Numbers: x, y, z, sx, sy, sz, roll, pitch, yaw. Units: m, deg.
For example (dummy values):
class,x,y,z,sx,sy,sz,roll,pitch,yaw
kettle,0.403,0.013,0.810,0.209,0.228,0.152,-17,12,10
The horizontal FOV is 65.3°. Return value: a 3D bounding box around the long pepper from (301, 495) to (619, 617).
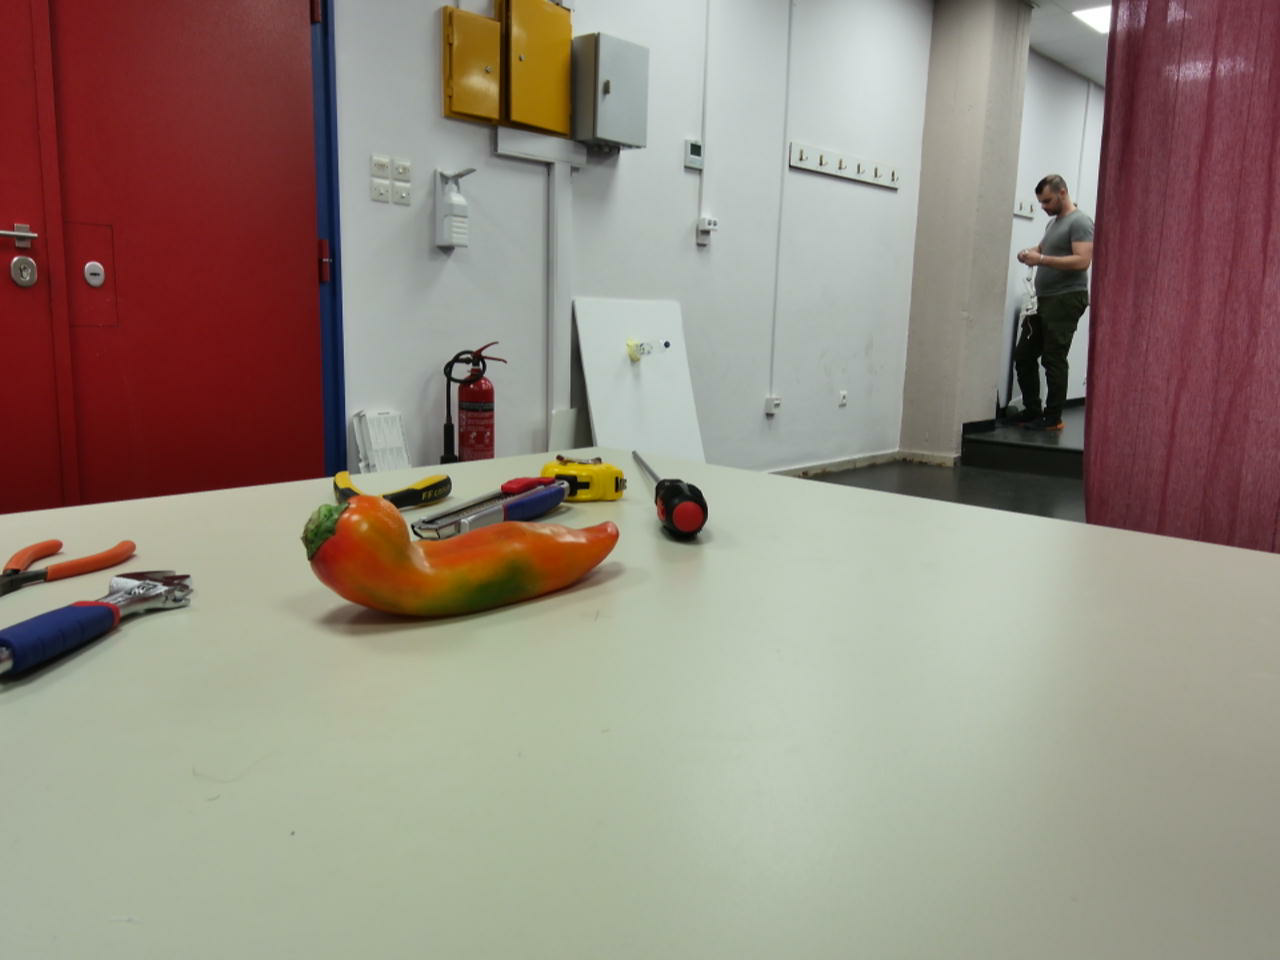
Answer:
class,x,y,z,sx,sy,sz,roll,pitch,yaw
long pepper,-0.086,0.033,0.546,0.199,0.065,0.066,-6,10,-42
